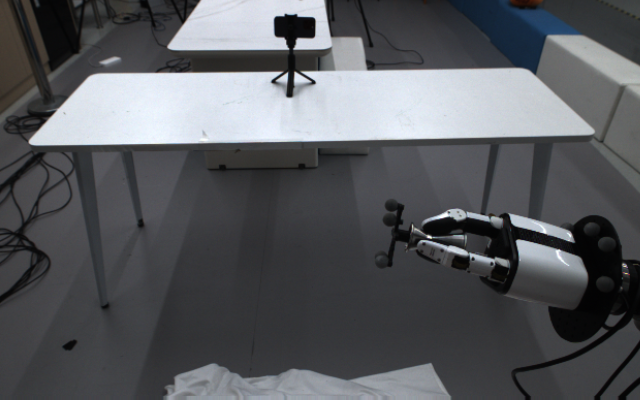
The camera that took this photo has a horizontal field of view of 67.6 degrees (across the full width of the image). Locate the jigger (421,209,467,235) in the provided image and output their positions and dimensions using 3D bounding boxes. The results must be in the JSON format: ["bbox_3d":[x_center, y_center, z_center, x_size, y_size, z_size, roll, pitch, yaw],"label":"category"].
[{"bbox_3d":[0.151,0.051,0.609,0.071,0.043,0.043,12,36,5],"label":"jigger"}]
